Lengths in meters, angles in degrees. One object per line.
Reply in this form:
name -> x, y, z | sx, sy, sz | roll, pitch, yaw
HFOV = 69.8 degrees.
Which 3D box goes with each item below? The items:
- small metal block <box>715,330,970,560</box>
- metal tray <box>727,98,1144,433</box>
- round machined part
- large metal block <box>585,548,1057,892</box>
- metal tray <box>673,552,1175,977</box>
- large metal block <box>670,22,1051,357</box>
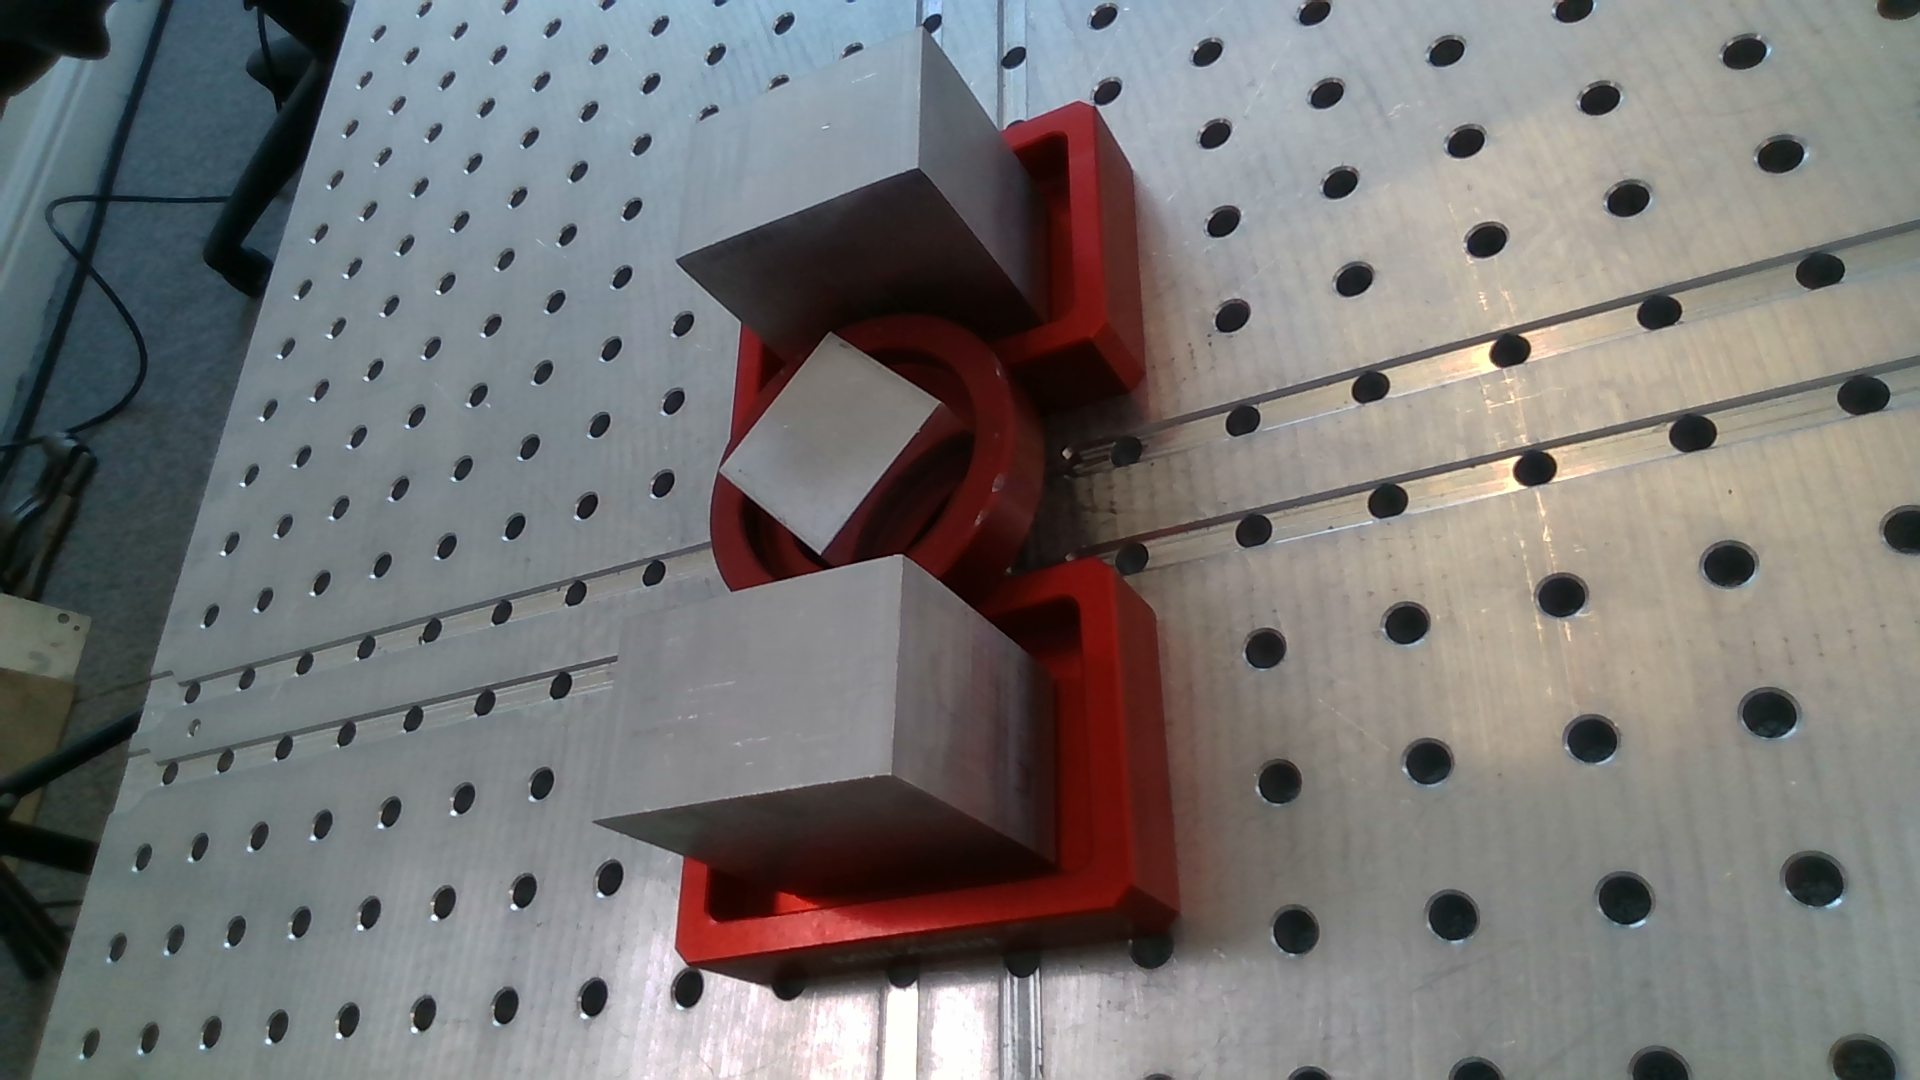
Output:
small metal block -> -0.030, -0.022, 0.374 | 0.050, 0.025, 0.050 | 36, 87, 39
metal tray -> -0.010, -0.078, 0.439 | 0.130, 0.030, 0.090 | -14, 59, 25
round machined part -> -0.020, -0.013, 0.393 | 0.098, 0.042, 0.098 | -14, 59, 25
large metal block -> -0.030, 0.049, 0.336 | 0.080, 0.080, 0.050 | -13, 59, 26
metal tray -> -0.012, 0.062, 0.366 | 0.130, 0.030, 0.090 | -14, 59, 25
large metal block -> -0.026, -0.093, 0.409 | 0.080, 0.080, 0.050 | -14, 59, 25
